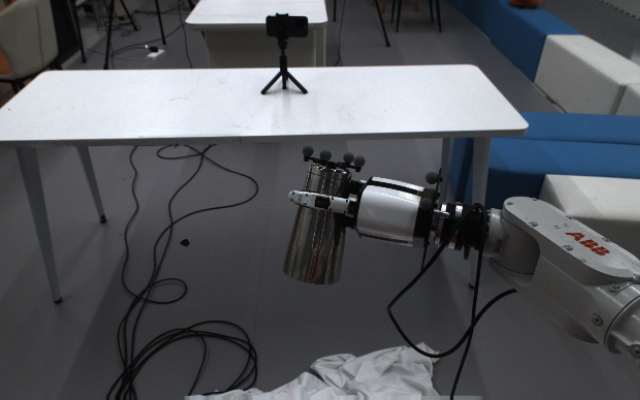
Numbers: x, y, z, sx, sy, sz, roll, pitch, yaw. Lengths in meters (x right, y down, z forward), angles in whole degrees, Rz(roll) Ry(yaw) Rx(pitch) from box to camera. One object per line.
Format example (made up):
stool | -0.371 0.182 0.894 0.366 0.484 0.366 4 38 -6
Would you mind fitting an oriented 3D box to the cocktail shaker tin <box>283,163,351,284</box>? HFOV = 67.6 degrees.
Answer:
cocktail shaker tin | 0.004 0.031 0.750 0.093 0.170 0.093 10 9 -2
